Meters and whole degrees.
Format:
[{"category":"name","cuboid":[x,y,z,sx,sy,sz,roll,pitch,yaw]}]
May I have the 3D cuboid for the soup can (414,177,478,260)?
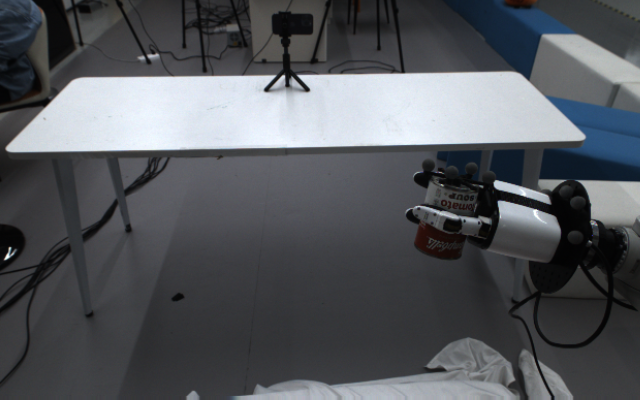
[{"category":"soup can","cuboid":[0.175,0.022,0.669,0.067,0.101,0.067,9,19,-3]}]
